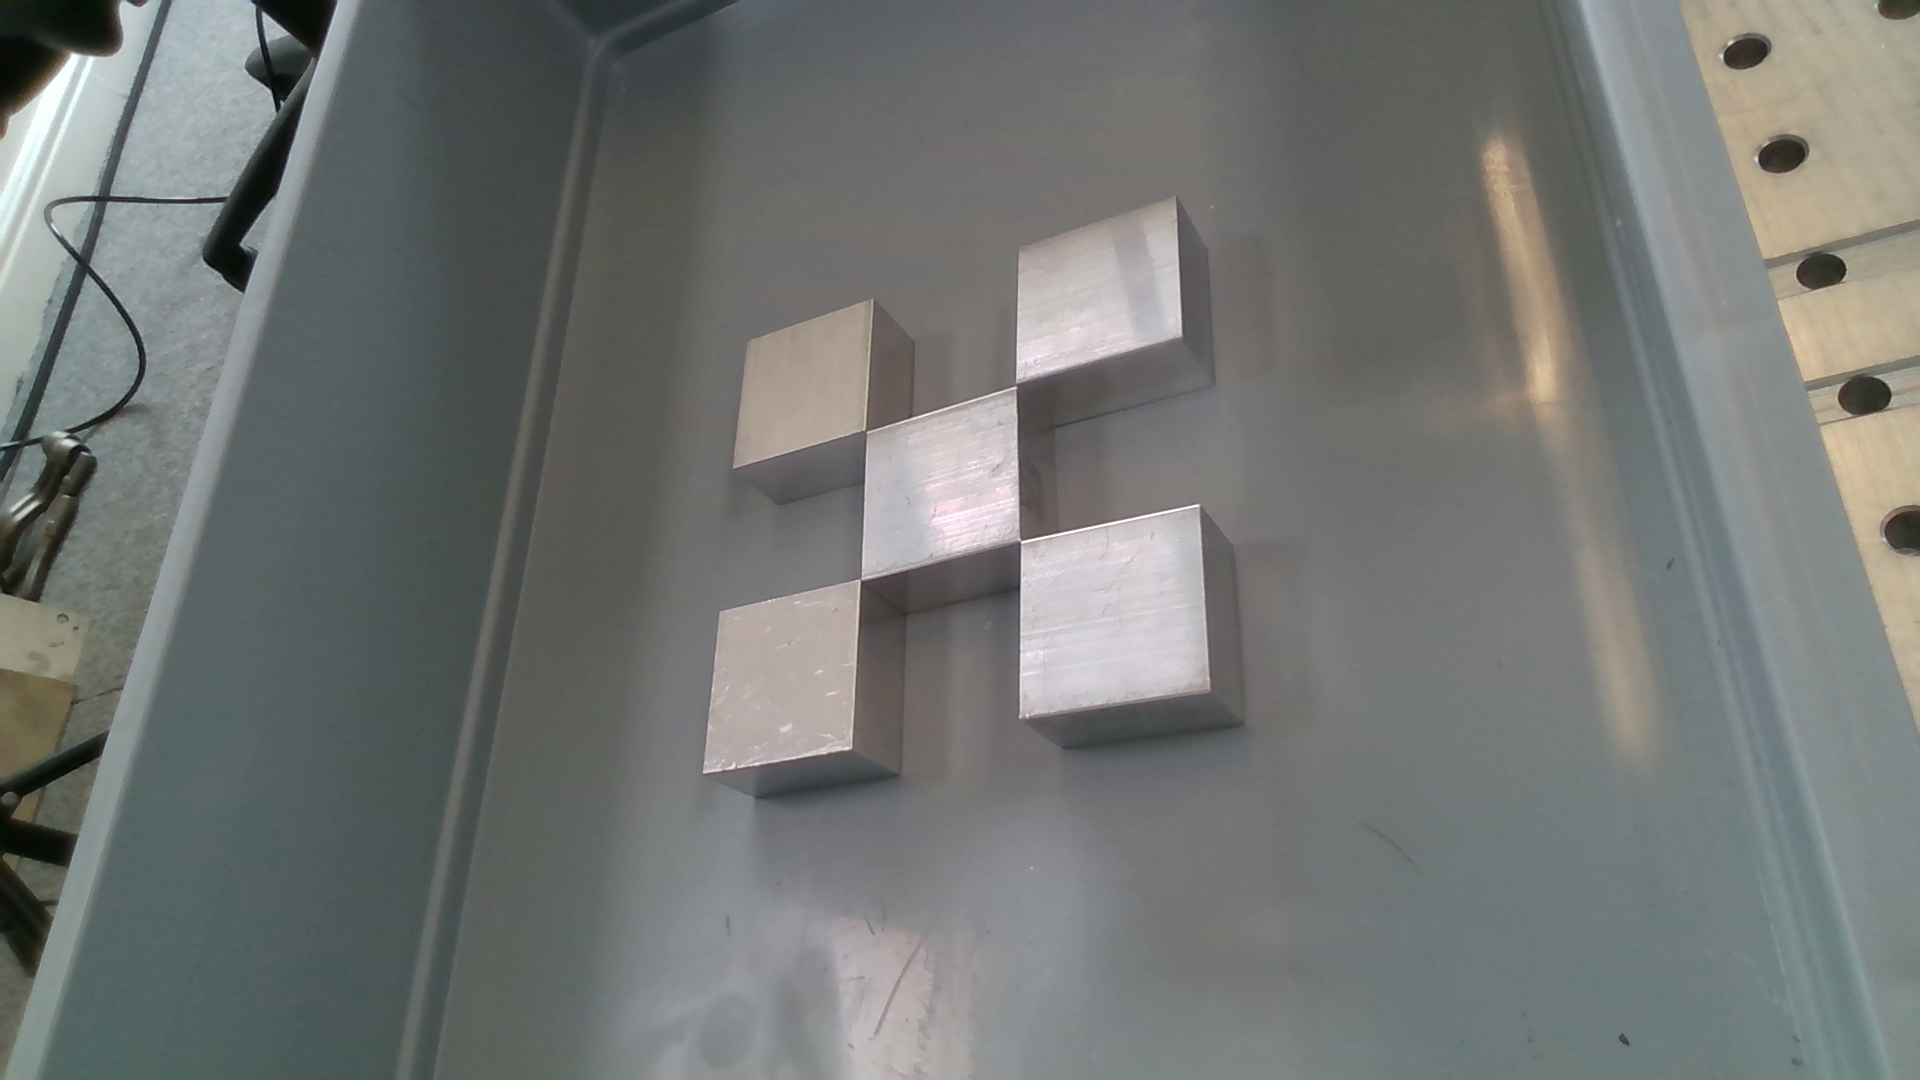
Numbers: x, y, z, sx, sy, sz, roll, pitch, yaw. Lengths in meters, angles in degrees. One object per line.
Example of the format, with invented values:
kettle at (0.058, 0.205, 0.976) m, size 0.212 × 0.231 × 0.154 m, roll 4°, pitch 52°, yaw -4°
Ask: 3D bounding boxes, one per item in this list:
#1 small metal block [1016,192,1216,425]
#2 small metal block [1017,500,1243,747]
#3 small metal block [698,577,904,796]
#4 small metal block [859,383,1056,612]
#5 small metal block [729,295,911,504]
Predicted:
small metal block at (0.044, -0.066, 0.399) m, size 0.050 × 0.025 × 0.050 m, roll -13°, pitch 59°, yaw 26°
small metal block at (0.043, 0.022, 0.352) m, size 0.050 × 0.025 × 0.050 m, roll -12°, pitch 60°, yaw 26°
small metal block at (-0.045, 0.043, 0.395) m, size 0.050 × 0.025 × 0.050 m, roll -13°, pitch 59°, yaw 26°
small metal block at (0.000, -0.012, 0.397) m, size 0.050 × 0.025 × 0.050 m, roll -14°, pitch 59°, yaw 25°
small metal block at (-0.044, -0.044, 0.442) m, size 0.050 × 0.025 × 0.050 m, roll -14°, pitch 59°, yaw 25°
